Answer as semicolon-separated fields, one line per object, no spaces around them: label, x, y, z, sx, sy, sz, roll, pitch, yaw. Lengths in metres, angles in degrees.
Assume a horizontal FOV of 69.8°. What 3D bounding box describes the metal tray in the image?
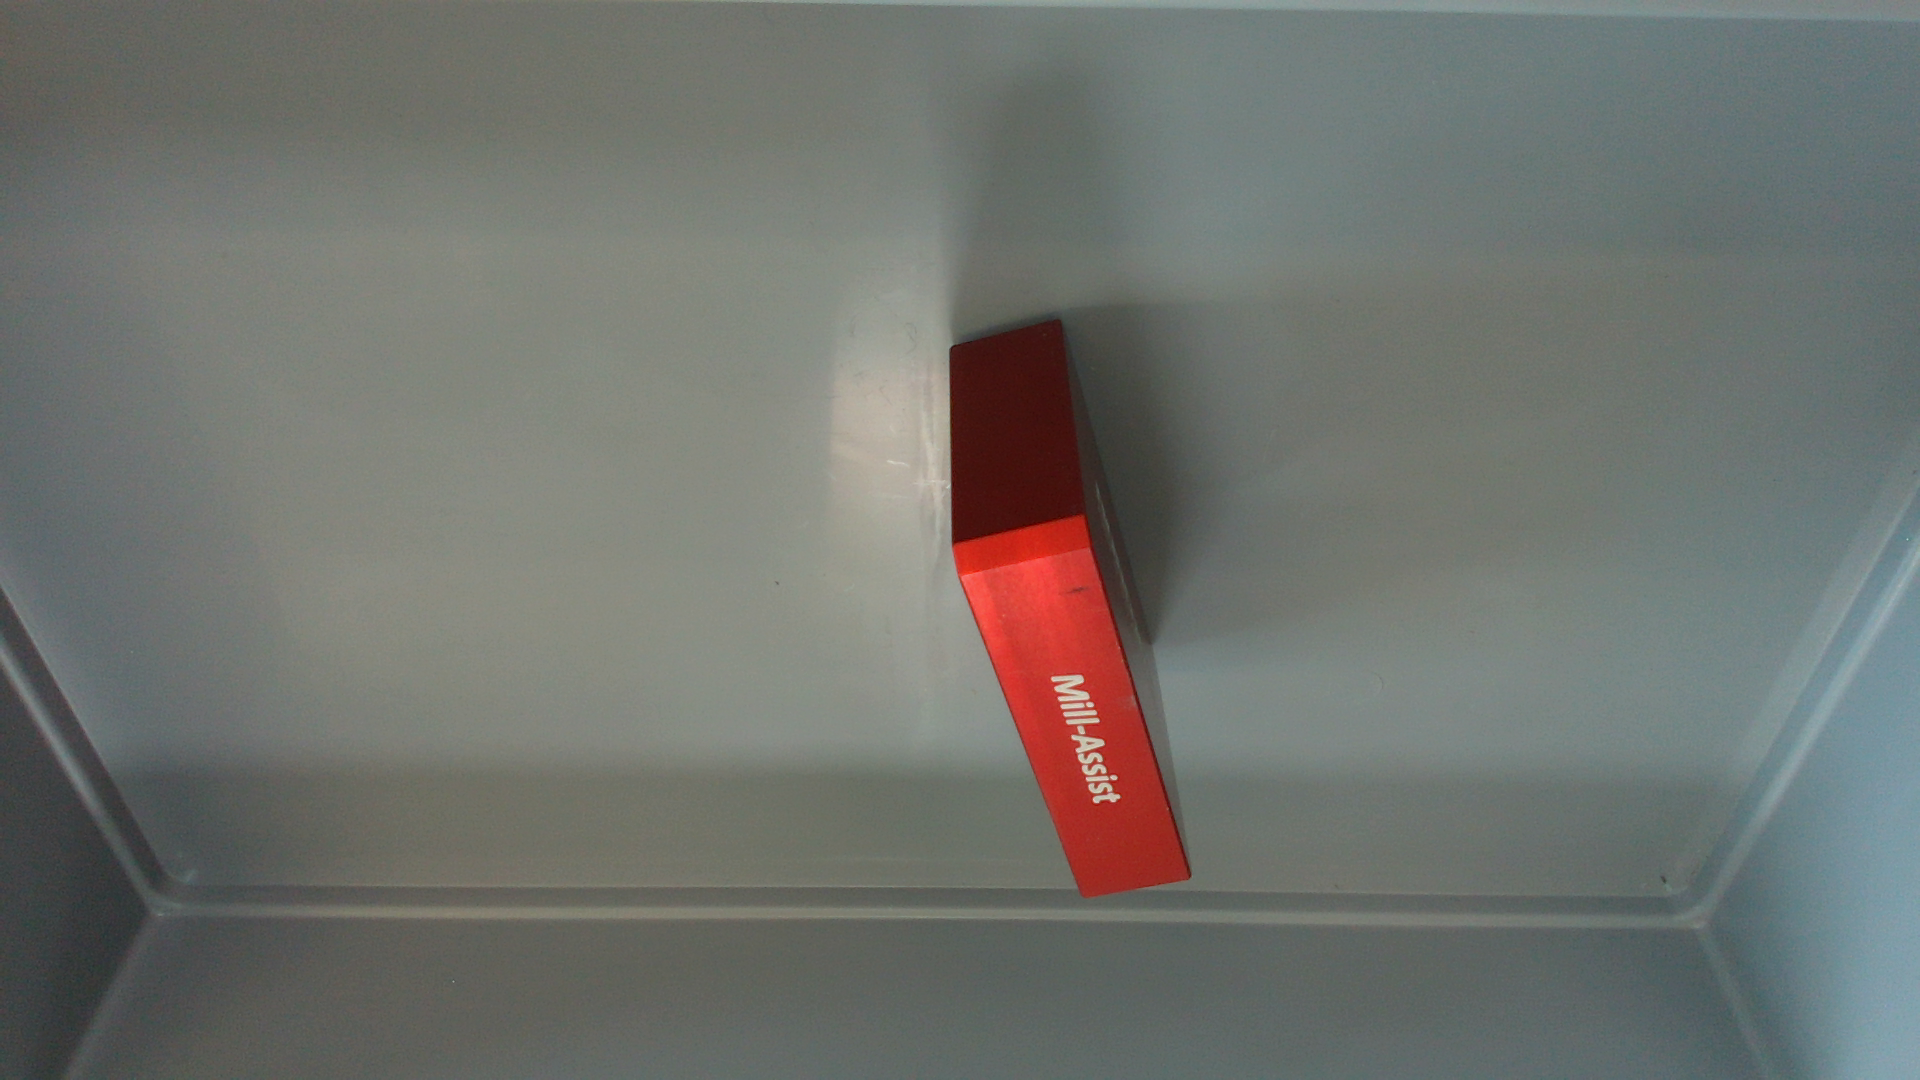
metal tray;0.030;0.020;0.362;0.030;0.090;0.130;-13;129;10
